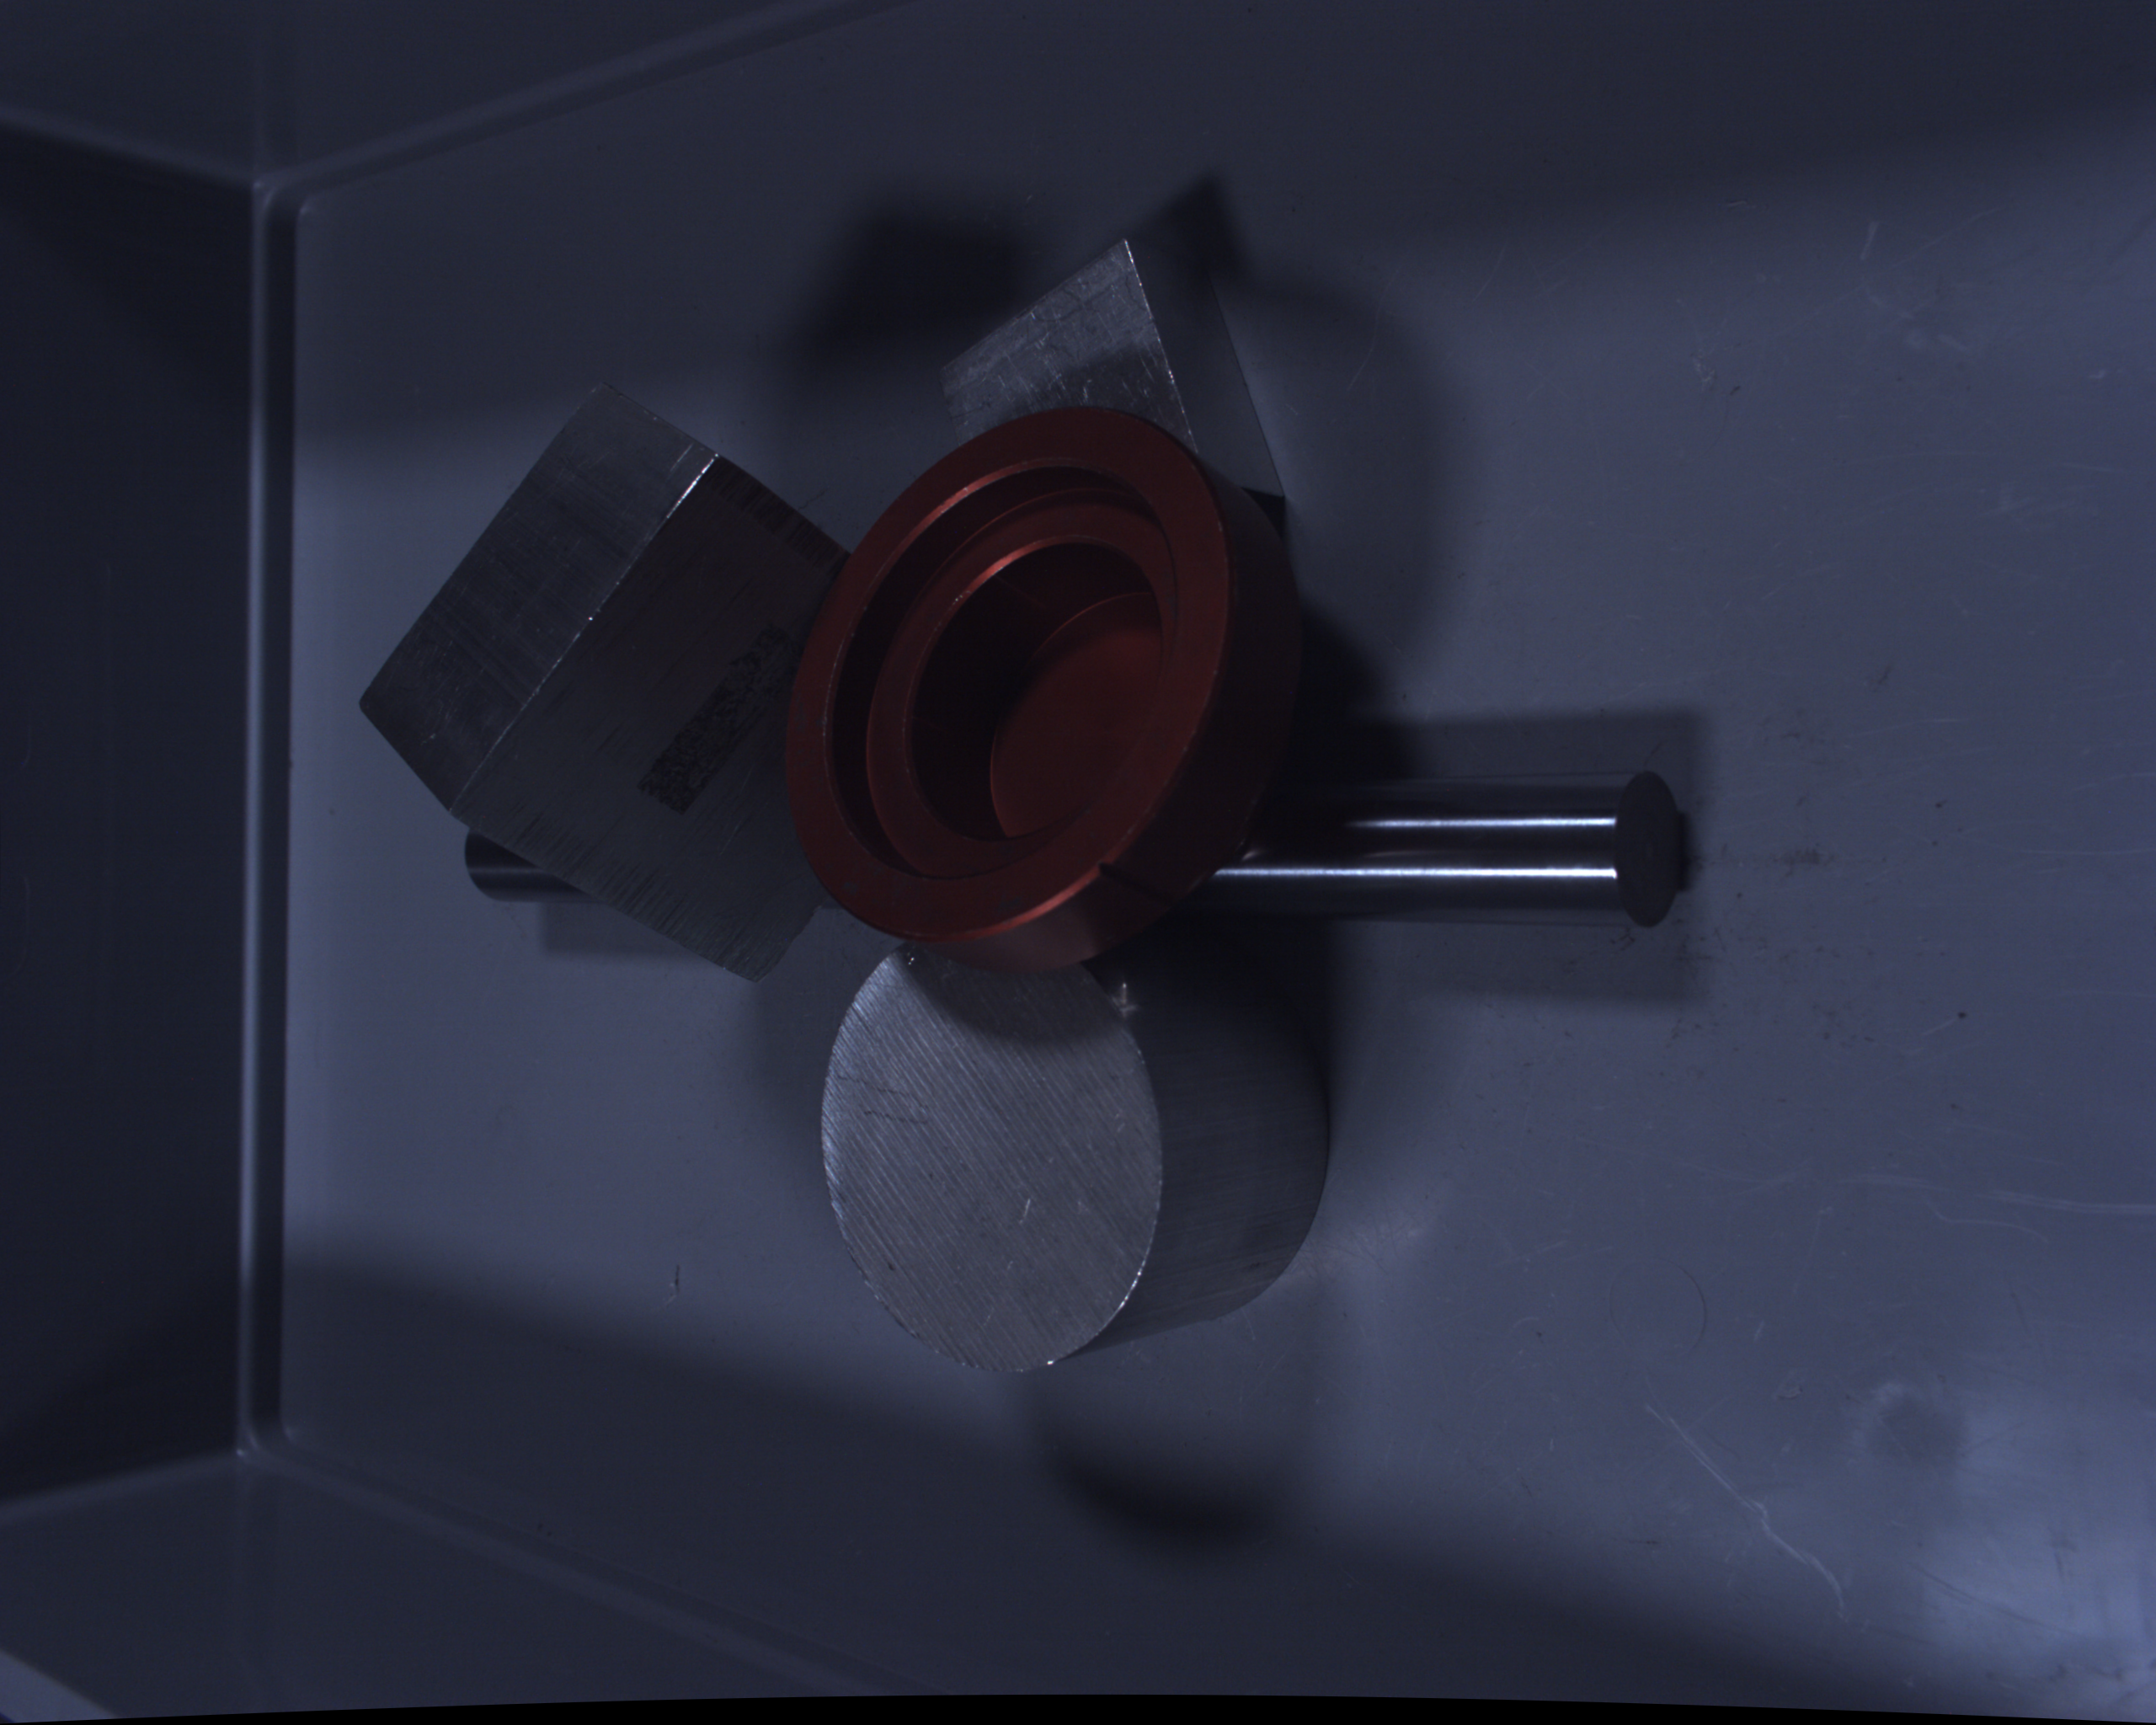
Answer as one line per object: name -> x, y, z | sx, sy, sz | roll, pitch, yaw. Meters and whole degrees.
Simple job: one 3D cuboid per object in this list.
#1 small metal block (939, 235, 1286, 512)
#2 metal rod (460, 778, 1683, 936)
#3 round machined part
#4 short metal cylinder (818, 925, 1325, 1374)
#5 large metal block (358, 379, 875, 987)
small metal block -> 0.006, -0.082, 0.399 | 0.050, 0.025, 0.050 | -26, 74, 36
metal rod -> -0.026, -0.001, 0.422 | 0.300, 0.025, 0.025 | 0, 90, 39
round machined part -> -0.002, -0.027, 0.369 | 0.098, 0.042, 0.098 | -16, 63, 34
short metal cylinder -> -0.002, 0.050, 0.387 | 0.080, 0.050, 0.079 | 0, 90, 39
large metal block -> -0.077, -0.034, 0.411 | 0.080, 0.080, 0.050 | -54, 44, 0
